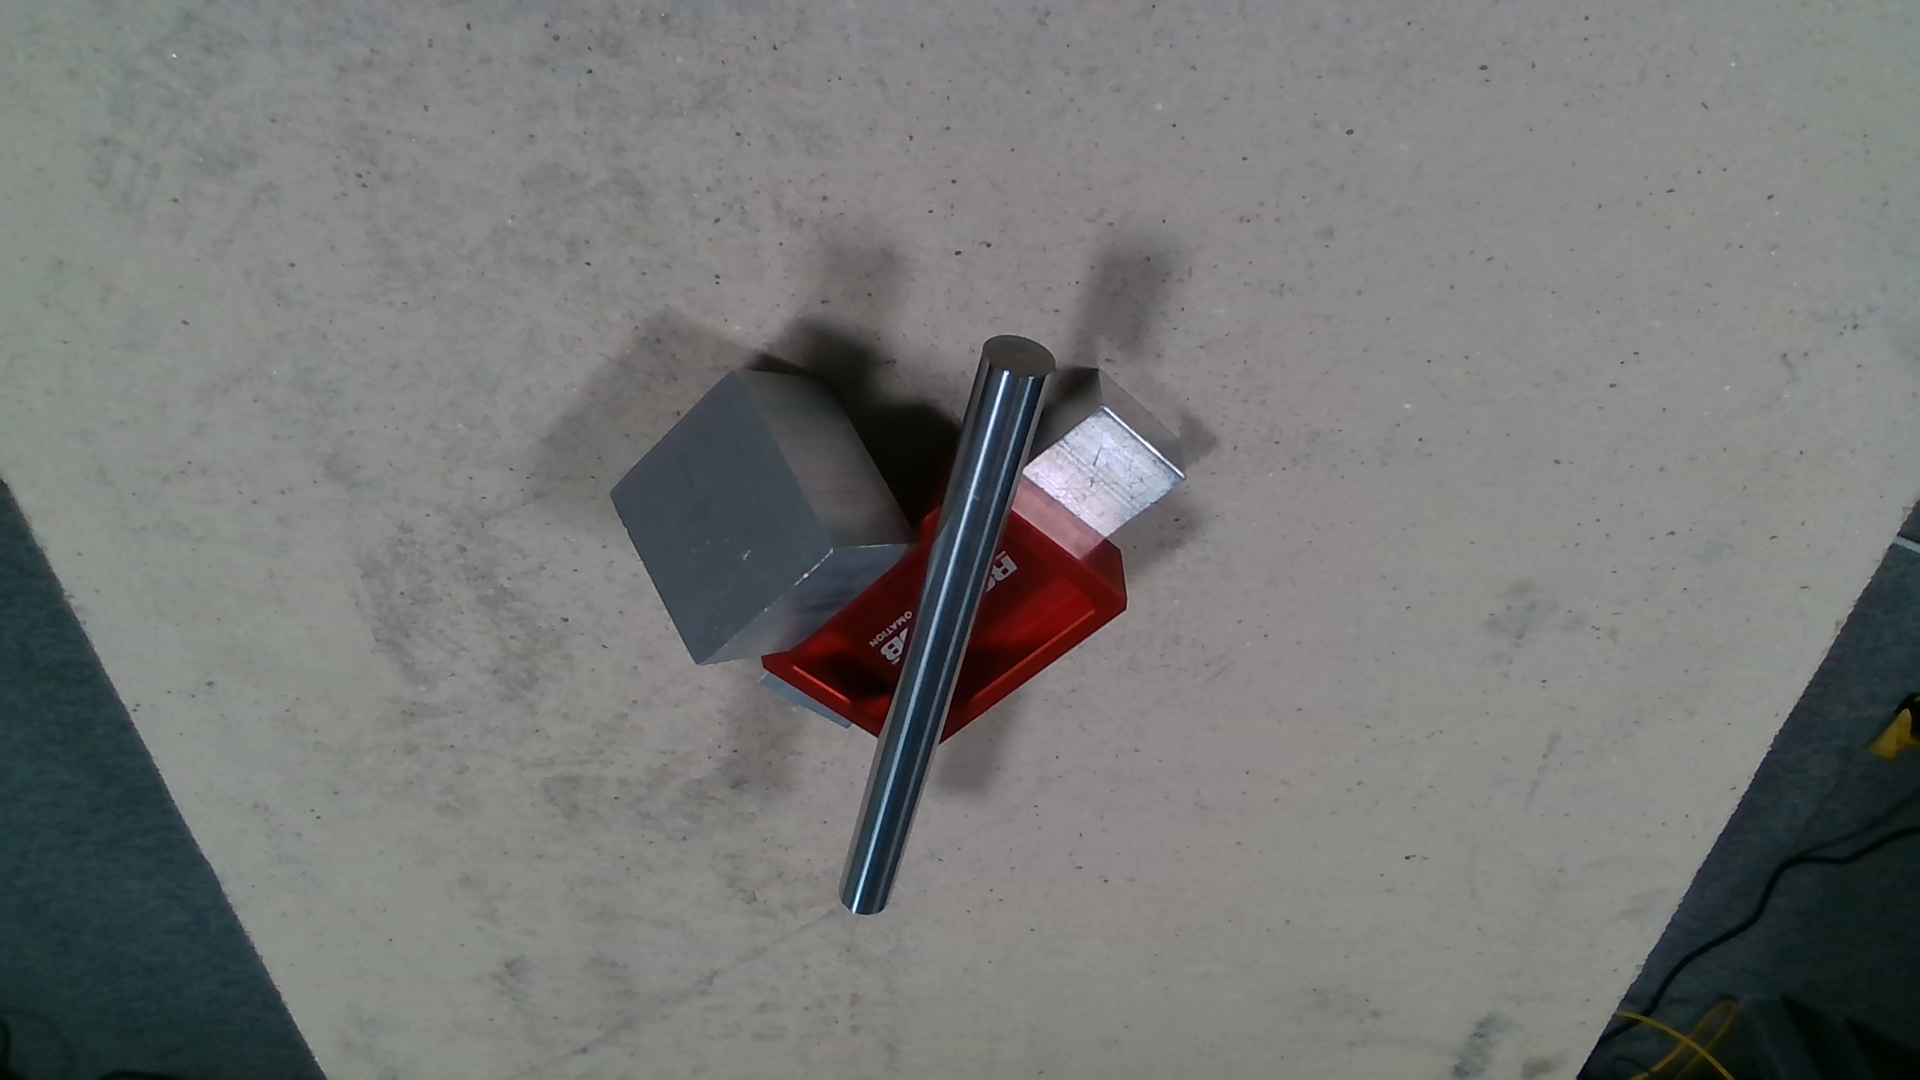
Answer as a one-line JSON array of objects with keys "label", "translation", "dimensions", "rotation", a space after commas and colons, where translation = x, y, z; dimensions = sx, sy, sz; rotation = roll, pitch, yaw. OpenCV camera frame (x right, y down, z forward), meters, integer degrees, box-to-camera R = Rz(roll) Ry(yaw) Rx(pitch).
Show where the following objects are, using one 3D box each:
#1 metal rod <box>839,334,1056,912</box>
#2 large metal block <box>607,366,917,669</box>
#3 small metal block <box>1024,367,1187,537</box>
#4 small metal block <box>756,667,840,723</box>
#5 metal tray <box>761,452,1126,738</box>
[{"label": "metal rod", "translation": [-0.012, 0.051, 0.550], "dimensions": [0.025, 0.025, 0.301], "rotation": [9, 129, -8]}, {"label": "large metal block", "translation": [-0.077, -0.008, 0.526], "dimensions": [0.080, 0.080, 0.050], "rotation": [-40, 161, 28]}, {"label": "small metal block", "translation": [0.054, -0.032, 0.552], "dimensions": [0.050, 0.025, 0.050], "rotation": [37, 121, -27]}, {"label": "small metal block", "translation": [-0.056, 0.052, 0.623], "dimensions": [0.050, 0.025, 0.050], "rotation": [31, 123, -24]}, {"label": "metal tray", "translation": [-0.008, 0.028, 0.566], "dimensions": [0.090, 0.030, 0.130], "rotation": [36, 121, -26]}]
